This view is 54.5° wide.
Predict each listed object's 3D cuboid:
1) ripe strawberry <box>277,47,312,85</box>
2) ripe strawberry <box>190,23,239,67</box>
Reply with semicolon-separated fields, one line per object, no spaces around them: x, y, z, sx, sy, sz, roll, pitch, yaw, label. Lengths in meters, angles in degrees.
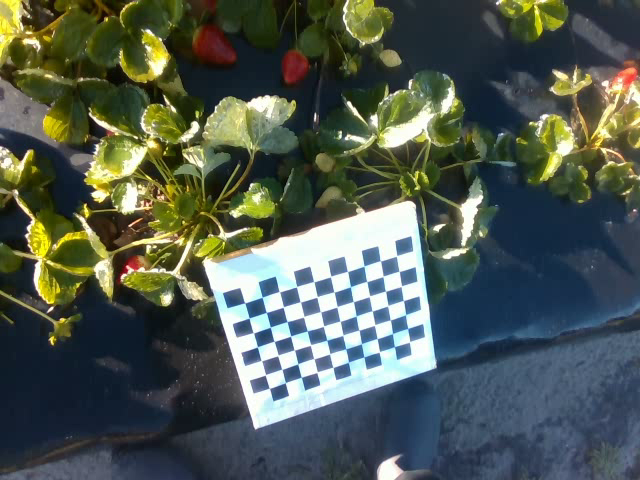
-0.030;-0.205;0.738;0.039;0.047;0.040;22;-3;-23;ripe strawberry
-0.120;-0.223;0.718;0.056;0.044;0.040;34;4;-24;ripe strawberry
